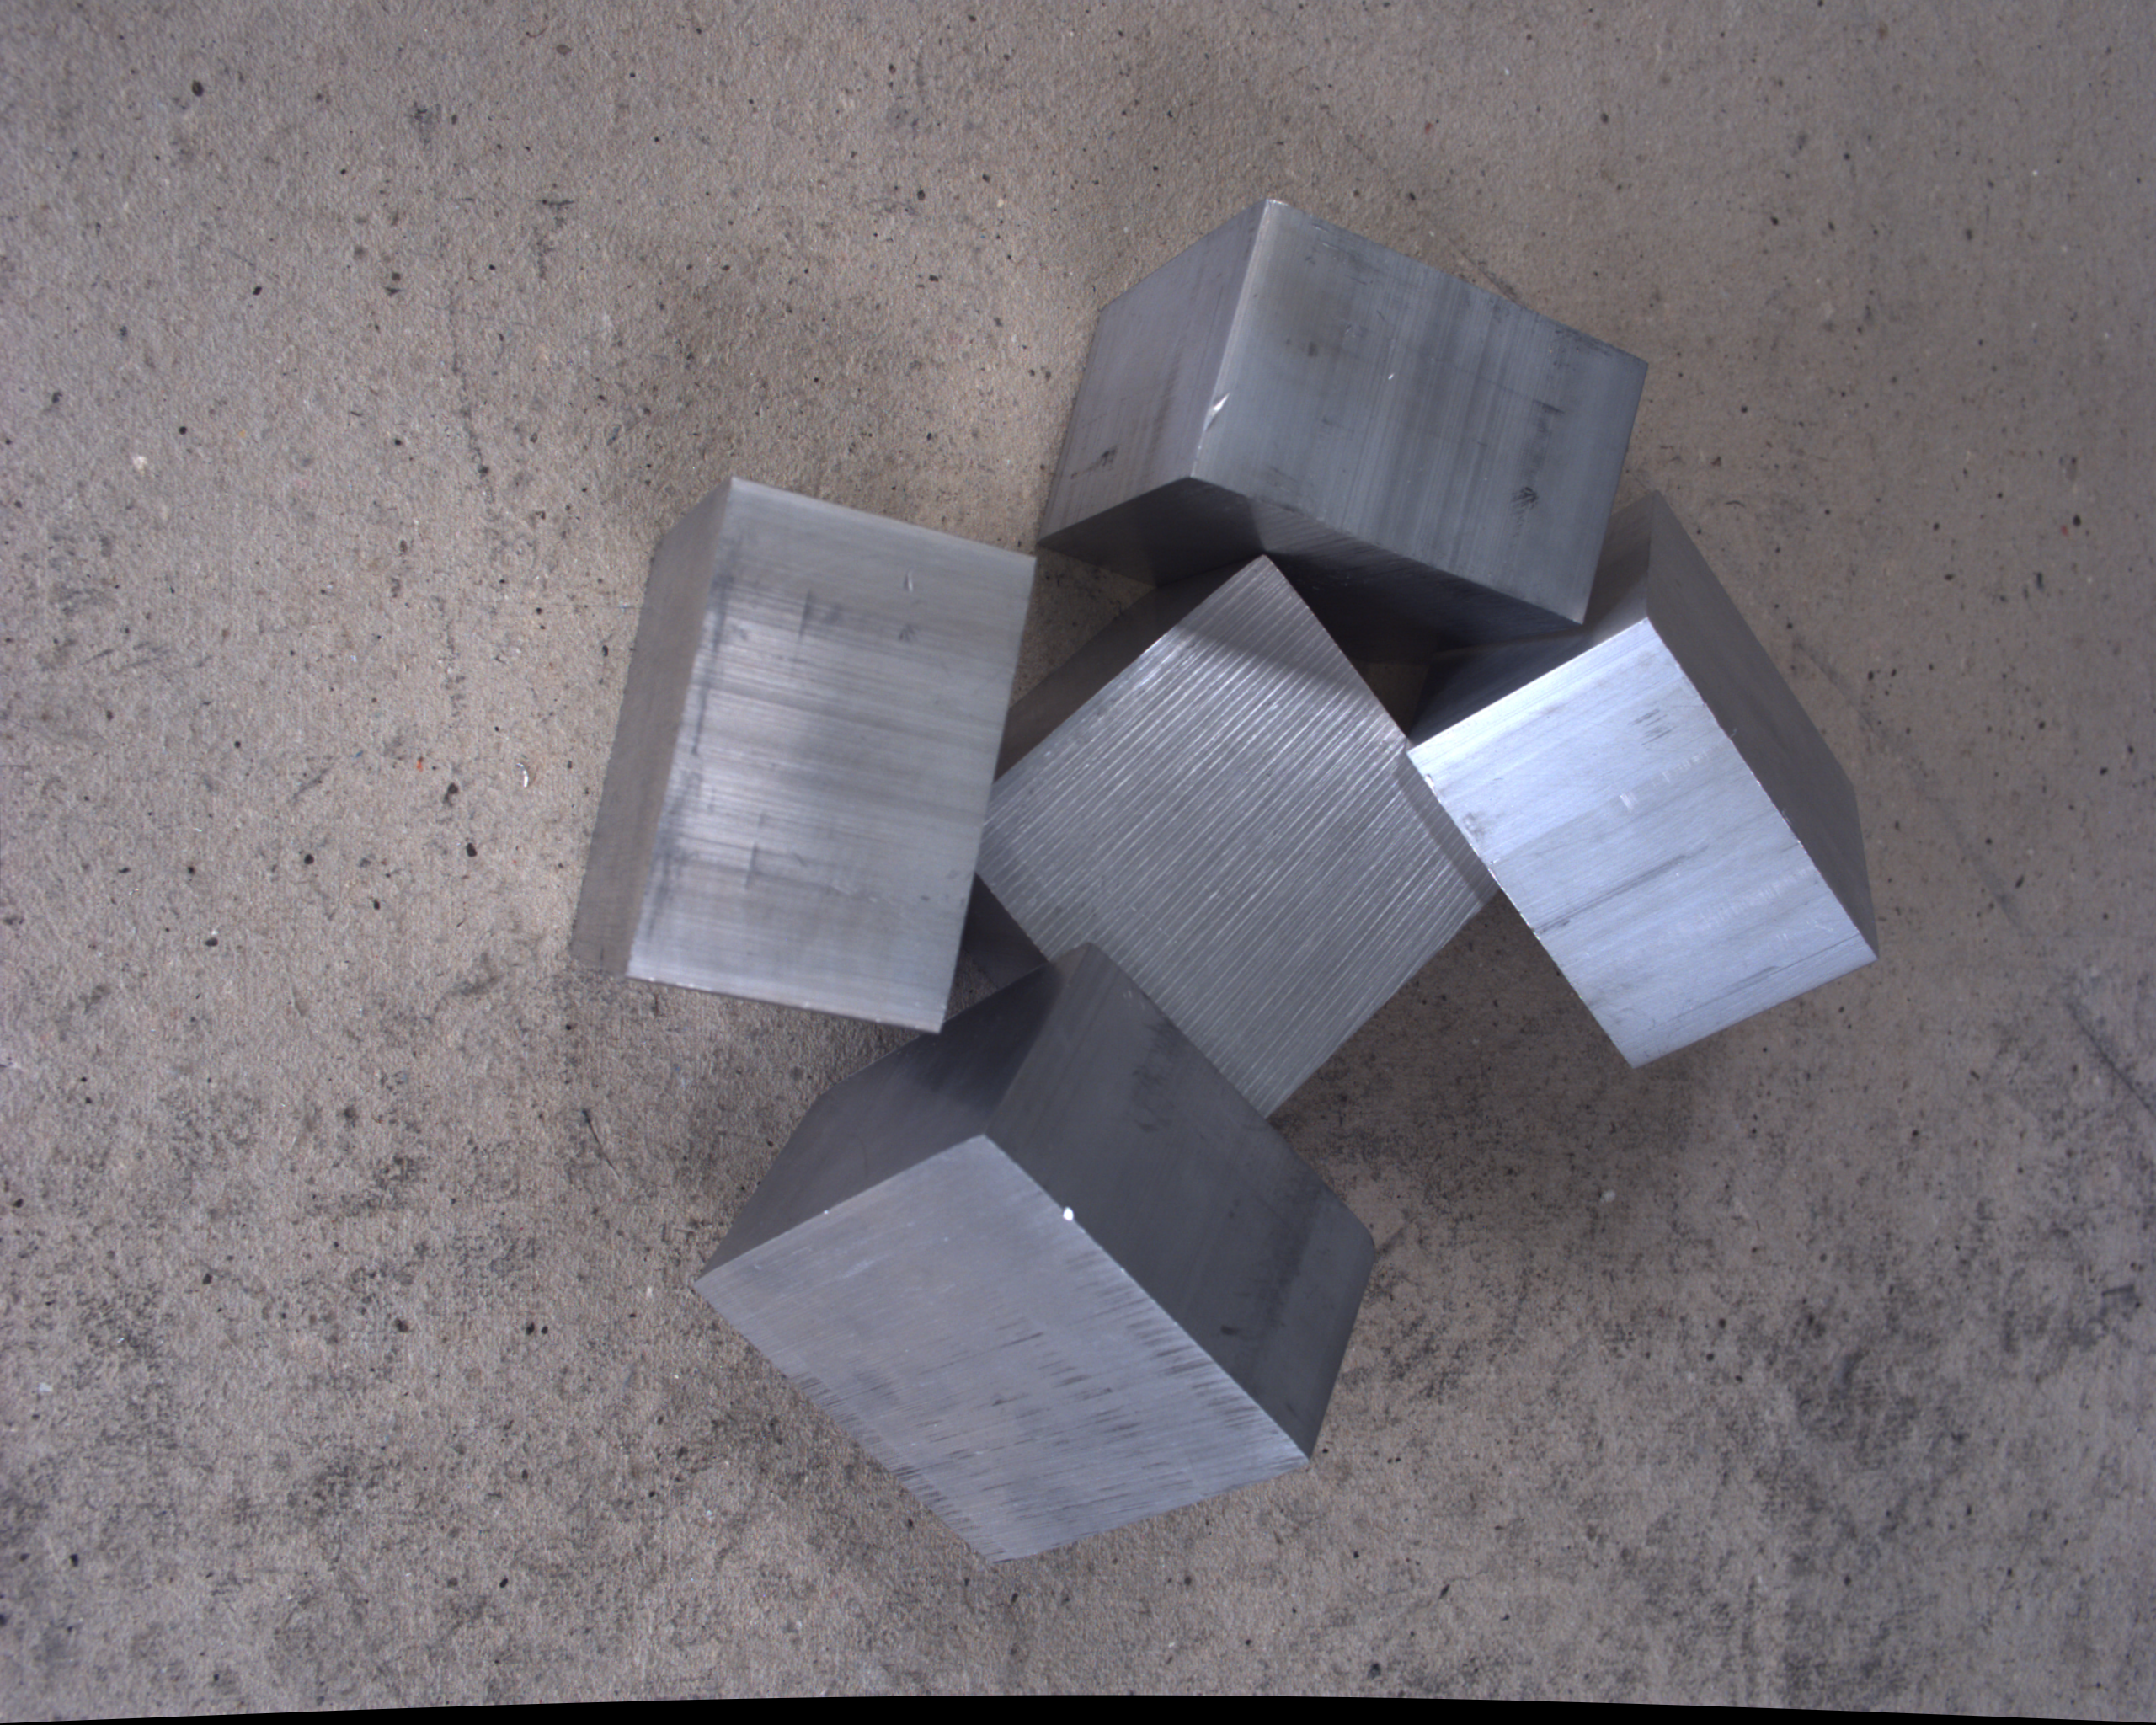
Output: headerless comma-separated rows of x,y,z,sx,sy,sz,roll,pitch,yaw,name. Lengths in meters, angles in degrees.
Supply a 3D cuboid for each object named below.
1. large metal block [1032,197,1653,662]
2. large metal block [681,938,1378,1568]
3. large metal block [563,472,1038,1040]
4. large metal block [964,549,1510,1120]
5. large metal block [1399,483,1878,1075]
0.047,-0.077,0.399,0.081,0.080,0.050,17,84,-19,large metal block
-0.008,0.072,0.372,0.080,0.080,0.050,47,39,-14,large metal block
-0.051,-0.017,0.363,0.050,0.080,0.080,13,87,-20,large metal block
0.021,-0.002,0.403,0.080,0.050,0.080,-43,105,-15,large metal block
0.113,-0.019,0.416,0.050,0.080,0.080,-31,104,27,large metal block
